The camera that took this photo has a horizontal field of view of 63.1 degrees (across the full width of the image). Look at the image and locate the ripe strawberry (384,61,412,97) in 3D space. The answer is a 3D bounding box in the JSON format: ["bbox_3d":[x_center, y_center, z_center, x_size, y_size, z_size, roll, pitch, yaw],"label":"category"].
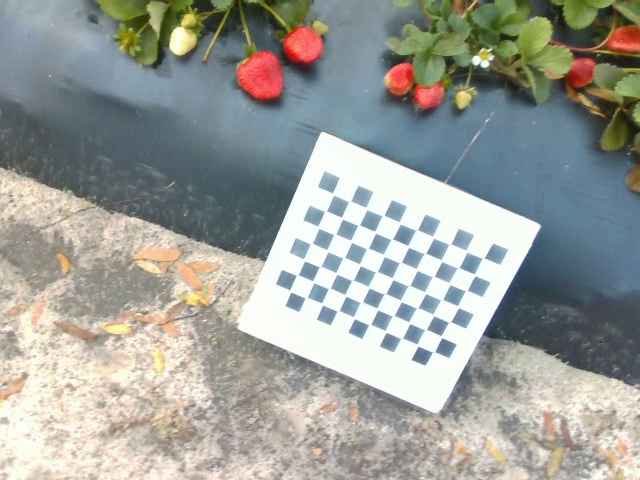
[{"bbox_3d":[0.091,-0.194,0.635,0.053,0.047,0.038,-9,23,-24],"label":"ripe strawberry"}]

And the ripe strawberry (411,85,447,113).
[{"bbox_3d":[0.128,-0.172,0.625,0.043,0.041,0.049,18,44,2],"label":"ripe strawberry"}]

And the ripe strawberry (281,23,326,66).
[{"bbox_3d":[-0.026,-0.235,0.637,0.050,0.060,0.051,-42,-42,20],"label":"ripe strawberry"}]

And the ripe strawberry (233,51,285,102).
[{"bbox_3d":[-0.077,-0.194,0.627,0.058,0.065,0.043,-36,-8,19],"label":"ripe strawberry"}]
